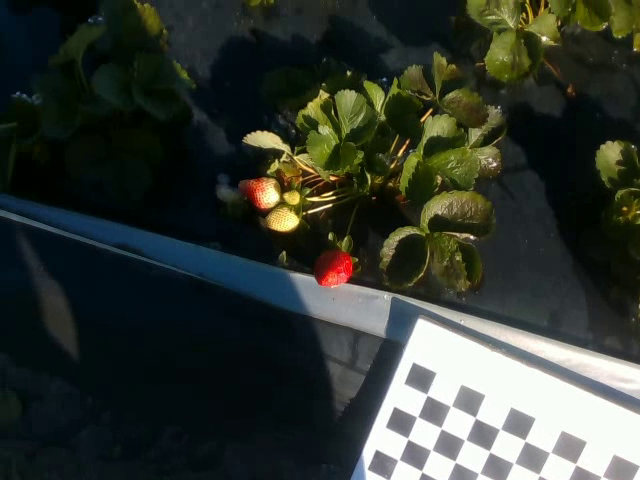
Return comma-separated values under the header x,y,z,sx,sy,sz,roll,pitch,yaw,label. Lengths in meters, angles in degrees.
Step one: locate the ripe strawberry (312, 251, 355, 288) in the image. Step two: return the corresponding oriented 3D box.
x,y,z,sx,sy,sz,roll,pitch,yaw,label
0.006,0.026,0.437,0.036,0.038,0.045,21,25,13,ripe strawberry
